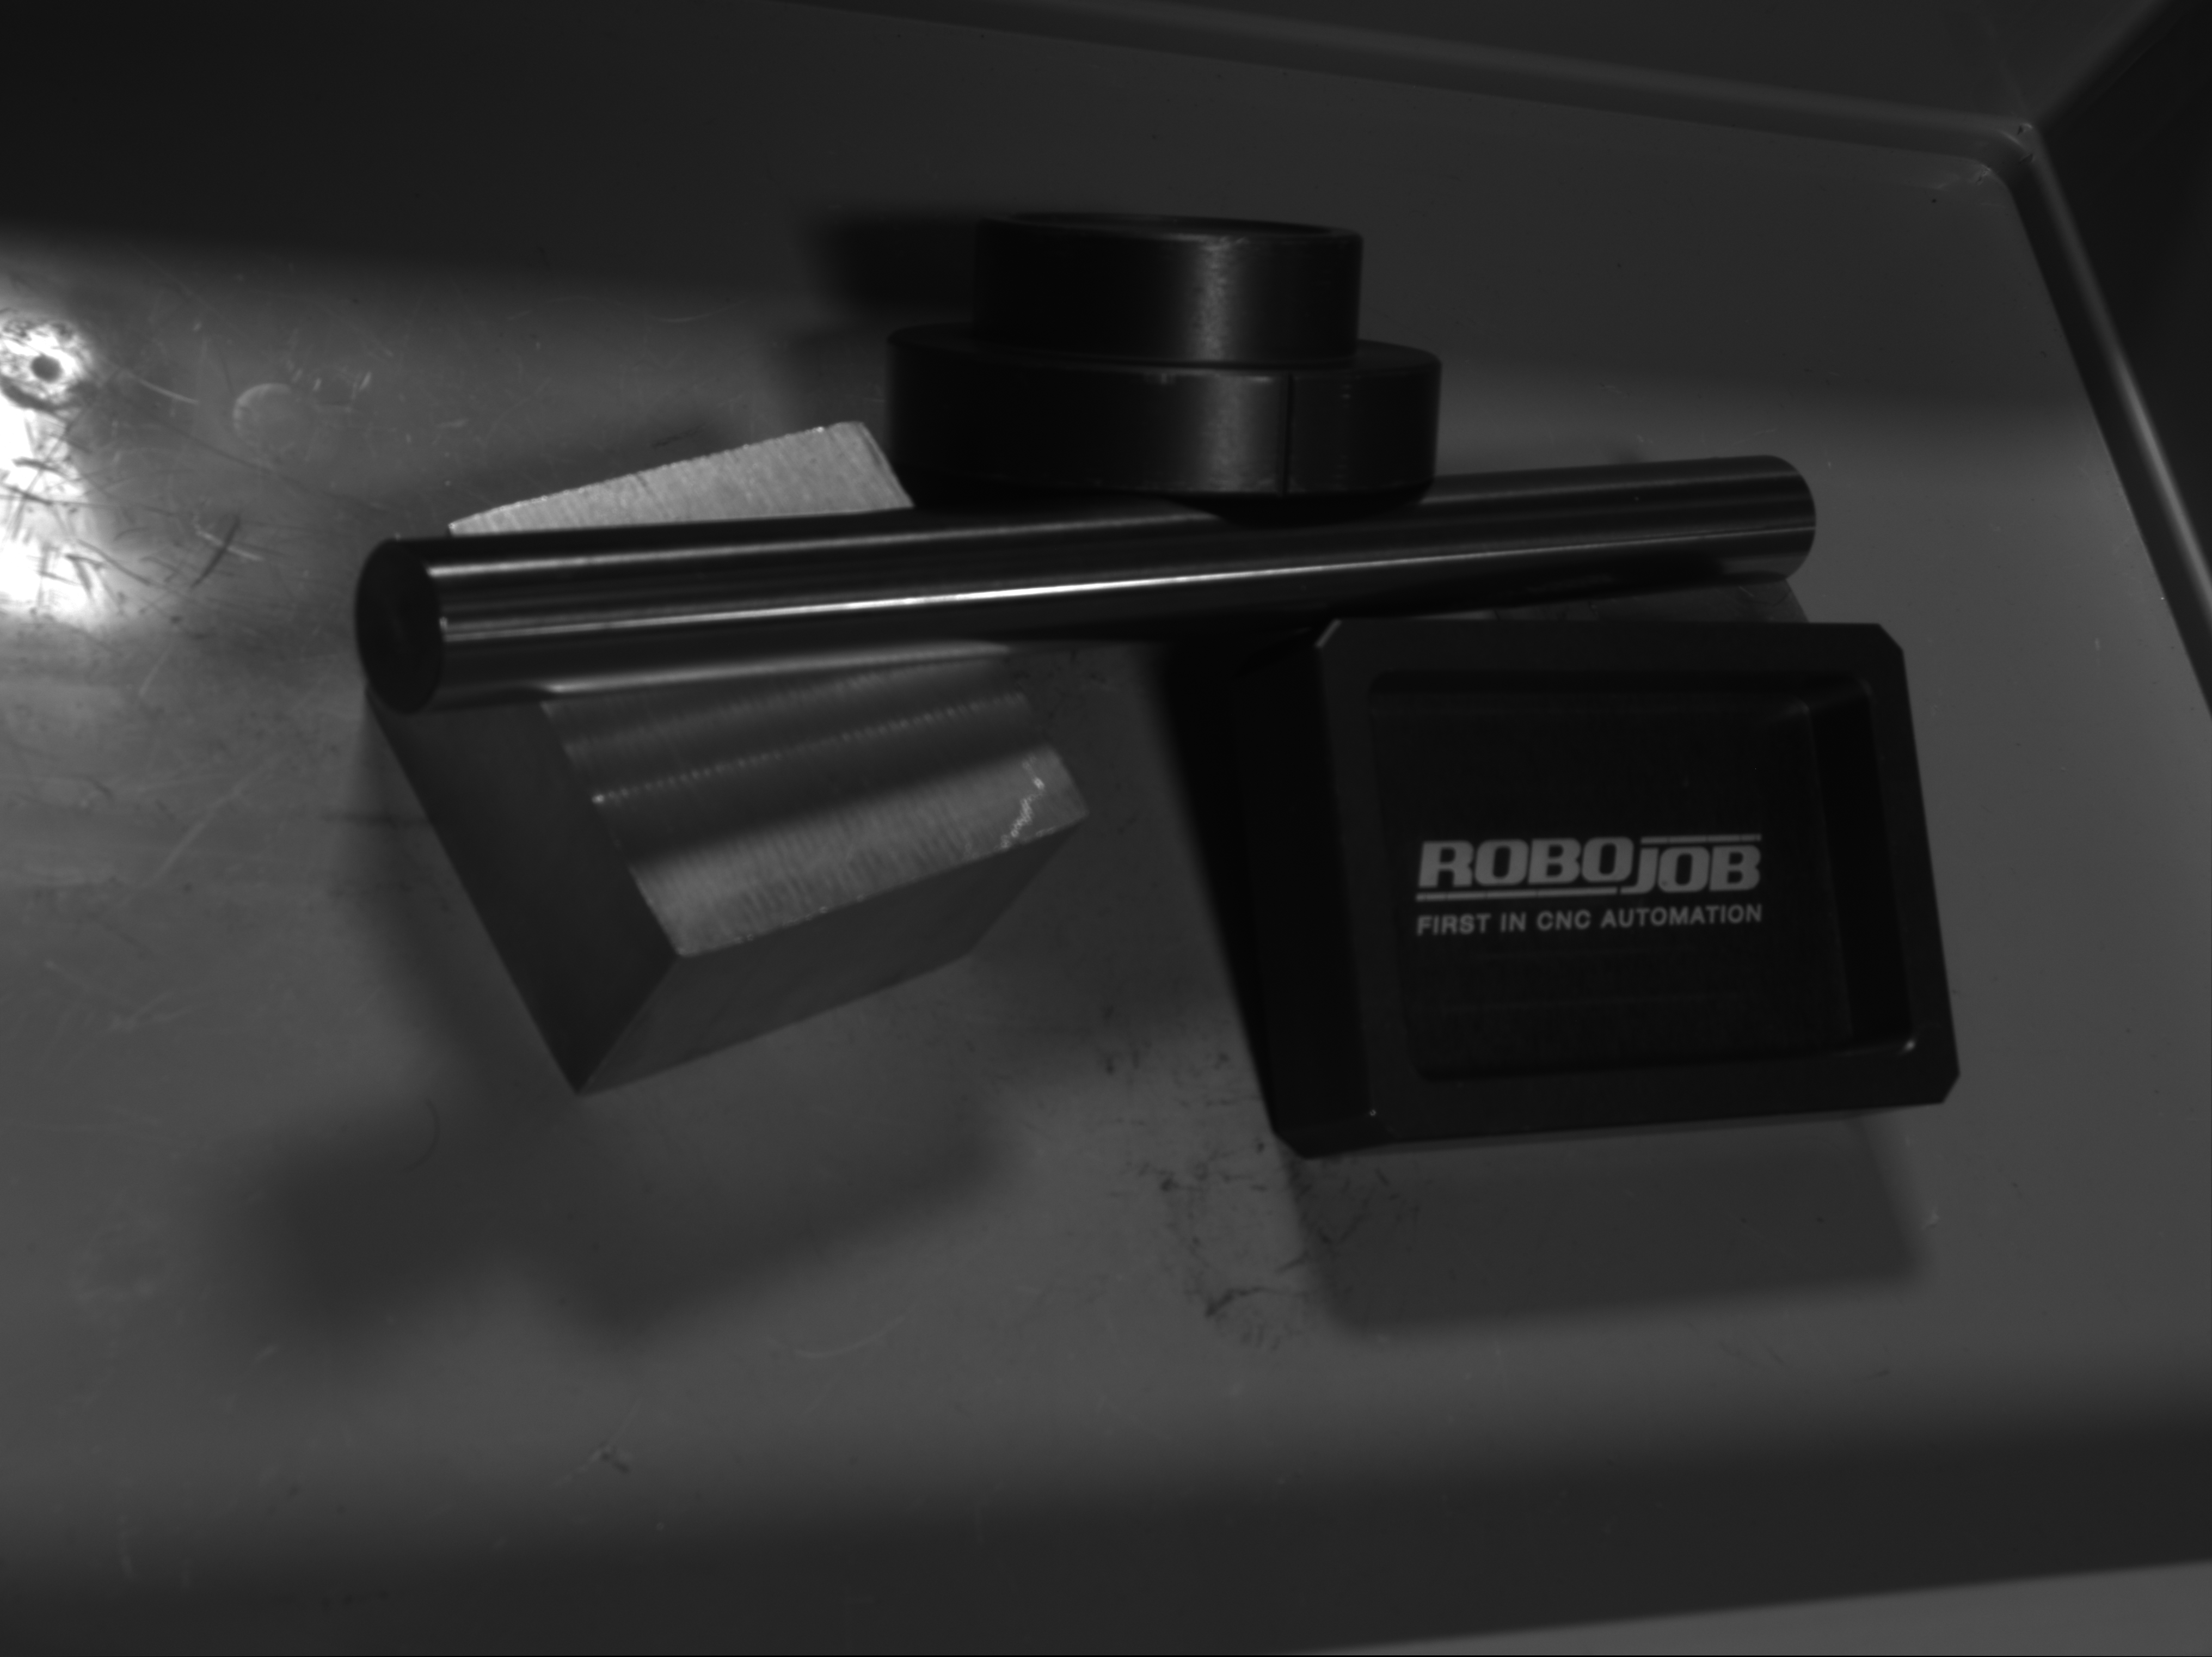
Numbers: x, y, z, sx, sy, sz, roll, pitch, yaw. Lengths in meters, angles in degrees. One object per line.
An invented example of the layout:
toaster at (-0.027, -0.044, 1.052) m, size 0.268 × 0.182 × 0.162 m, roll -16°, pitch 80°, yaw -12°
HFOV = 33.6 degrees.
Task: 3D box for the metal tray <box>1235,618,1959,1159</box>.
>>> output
metal tray at (0.090, 0.010, 0.659) m, size 0.130 × 0.030 × 0.090 m, roll -1°, pitch 82°, yaw -29°

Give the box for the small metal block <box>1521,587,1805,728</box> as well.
small metal block at (0.107, -0.043, 0.722) m, size 0.050 × 0.025 × 0.050 m, roll -12°, pitch 68°, yaw -33°

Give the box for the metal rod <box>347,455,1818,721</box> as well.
metal rod at (0.013, -0.044, 0.615) m, size 0.301 × 0.025 × 0.025 m, roll -8°, pitch 65°, yaw -39°

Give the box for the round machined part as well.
round machined part at (0.010, -0.085, 0.647) m, size 0.098 × 0.098 × 0.042 m, roll -4°, pitch 104°, yaw -30°

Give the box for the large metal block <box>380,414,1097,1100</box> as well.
large metal block at (-0.062, -0.013, 0.596) m, size 0.080 × 0.050 × 0.080 m, roll -19°, pitch 72°, yaw -35°
